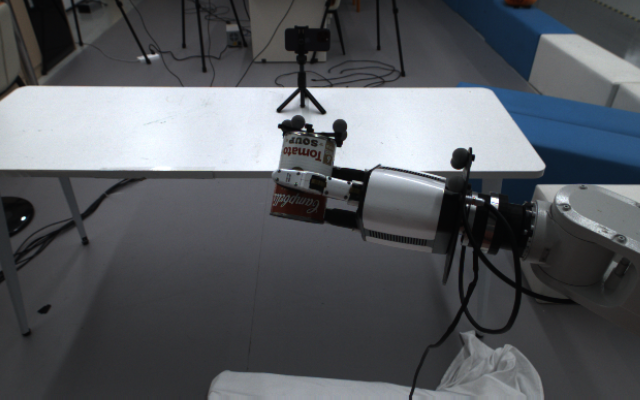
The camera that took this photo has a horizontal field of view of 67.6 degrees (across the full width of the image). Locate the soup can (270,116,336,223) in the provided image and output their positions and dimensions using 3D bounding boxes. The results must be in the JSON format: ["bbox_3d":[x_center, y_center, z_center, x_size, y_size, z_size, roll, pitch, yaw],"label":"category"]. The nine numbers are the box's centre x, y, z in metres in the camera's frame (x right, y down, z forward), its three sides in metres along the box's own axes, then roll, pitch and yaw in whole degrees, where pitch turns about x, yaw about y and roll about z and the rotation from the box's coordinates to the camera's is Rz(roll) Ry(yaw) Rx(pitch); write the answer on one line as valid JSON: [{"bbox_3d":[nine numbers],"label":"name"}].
[{"bbox_3d":[-0.019,-0.027,0.593,0.067,0.101,0.067,9,-5,1],"label":"soup can"}]
